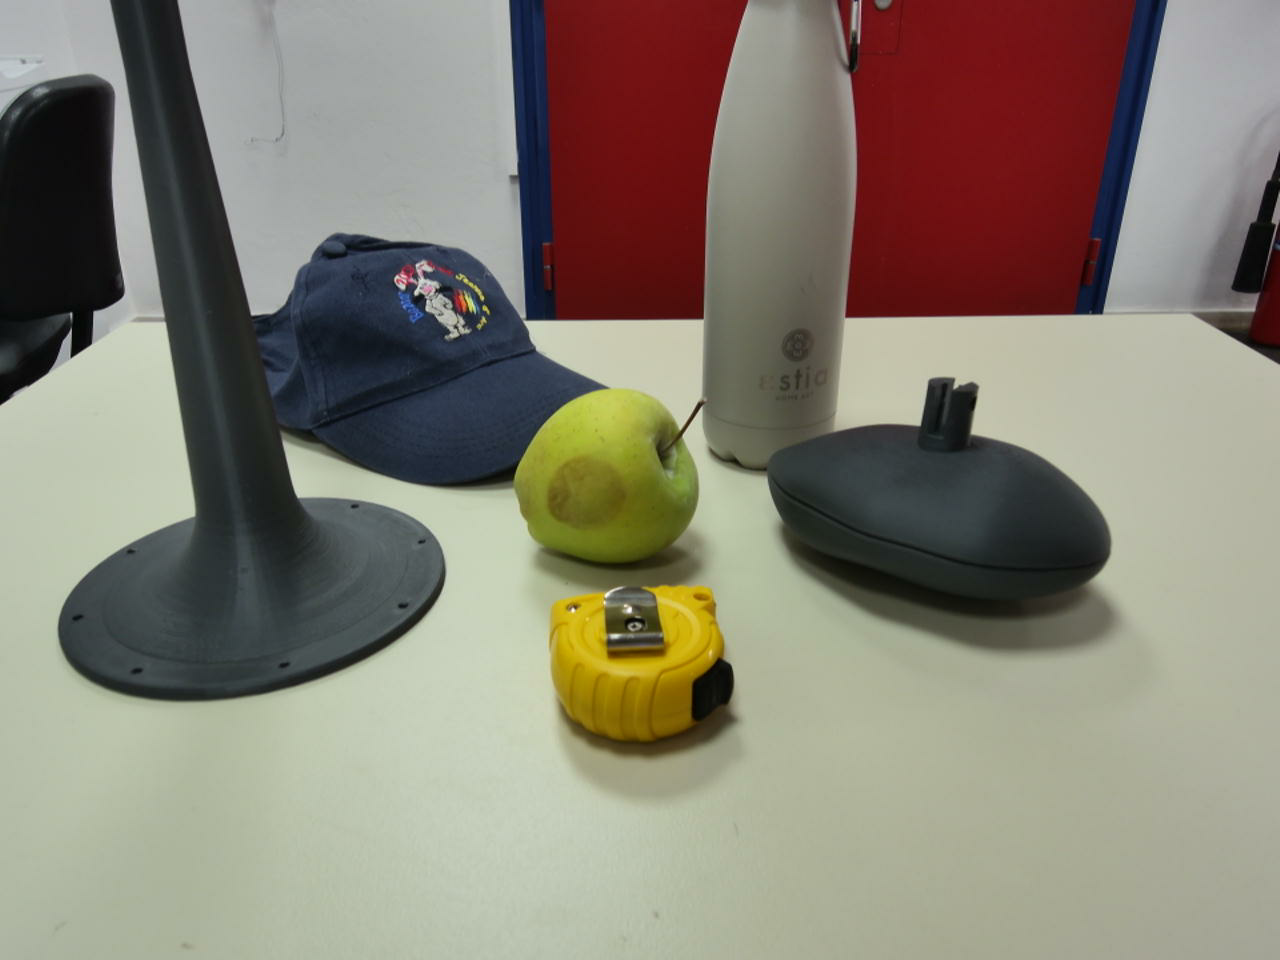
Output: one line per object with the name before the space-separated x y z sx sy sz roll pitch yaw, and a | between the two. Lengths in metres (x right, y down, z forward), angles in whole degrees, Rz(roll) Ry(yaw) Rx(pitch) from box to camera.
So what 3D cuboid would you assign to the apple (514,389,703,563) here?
apple | -0.013 -0.002 0.434 0.077 0.075 0.072 22 32 39
